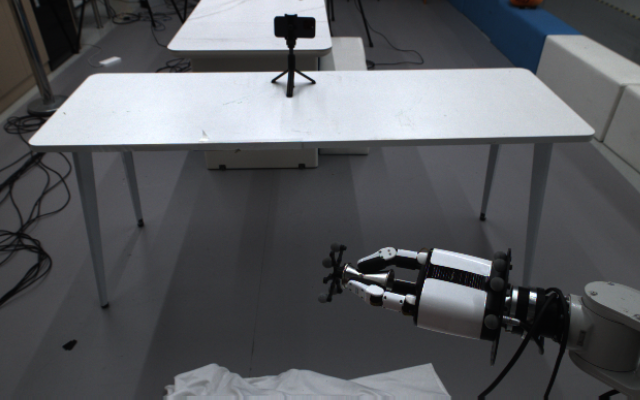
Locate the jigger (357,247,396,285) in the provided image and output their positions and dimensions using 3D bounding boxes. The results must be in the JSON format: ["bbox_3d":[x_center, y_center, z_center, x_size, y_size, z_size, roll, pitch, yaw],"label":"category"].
[{"bbox_3d":[0.077,0.113,0.712,0.071,0.043,0.043,8,34,23],"label":"jigger"}]
